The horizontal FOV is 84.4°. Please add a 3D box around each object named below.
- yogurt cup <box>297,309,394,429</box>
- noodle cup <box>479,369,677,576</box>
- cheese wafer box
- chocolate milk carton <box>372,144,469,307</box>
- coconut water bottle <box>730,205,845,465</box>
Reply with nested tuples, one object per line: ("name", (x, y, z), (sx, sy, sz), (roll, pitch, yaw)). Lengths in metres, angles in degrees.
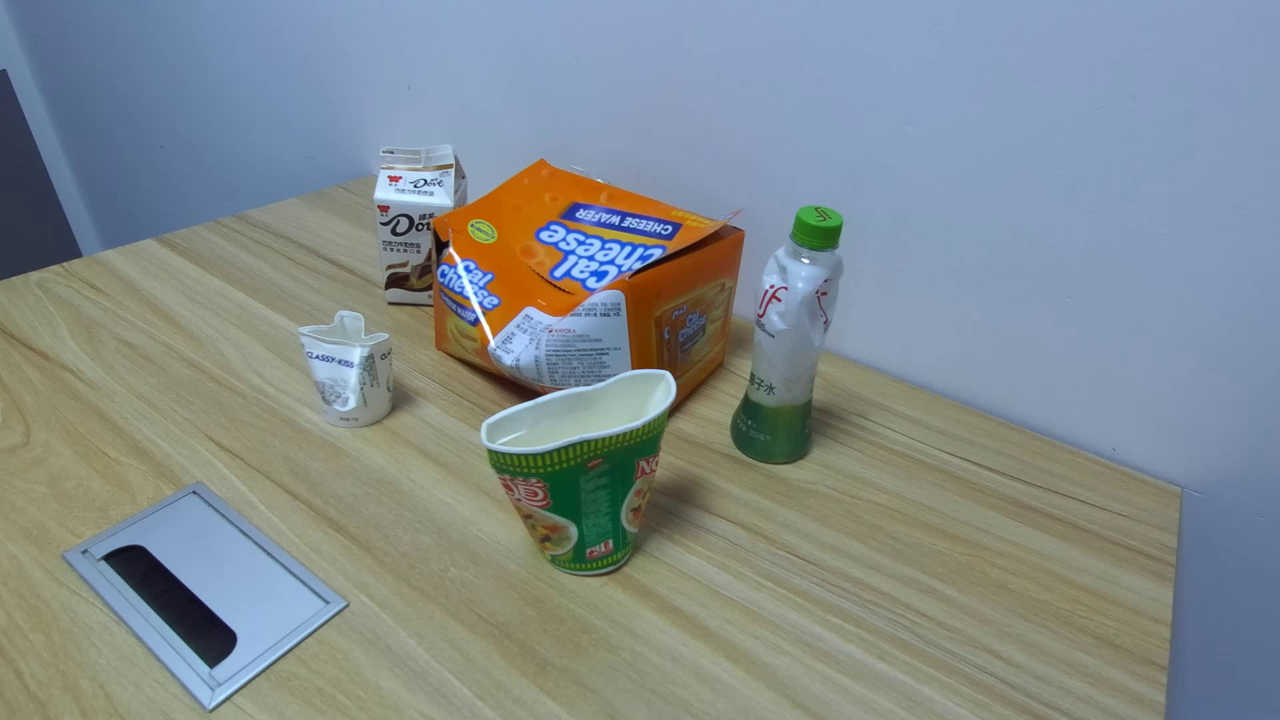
("yogurt cup", (-0.218, 0.007, 0.540), (0.054, 0.072, 0.055), (29, 39, 32))
("noodle cup", (-0.034, 0.071, 0.433), (0.115, 0.111, 0.070), (-3, 35, -9))
("cheese wafer box", (-0.053, -0.059, 0.589), (0.218, 0.145, 0.192), (22, 38, 25))
("chocolate milk carton", (-0.206, -0.135, 0.680), (0.075, 0.148, 0.074), (3, 34, -4))
("coconut water bottle", (0.109, -0.015, 0.502), (0.067, 0.187, 0.067), (4, 33, -2))
